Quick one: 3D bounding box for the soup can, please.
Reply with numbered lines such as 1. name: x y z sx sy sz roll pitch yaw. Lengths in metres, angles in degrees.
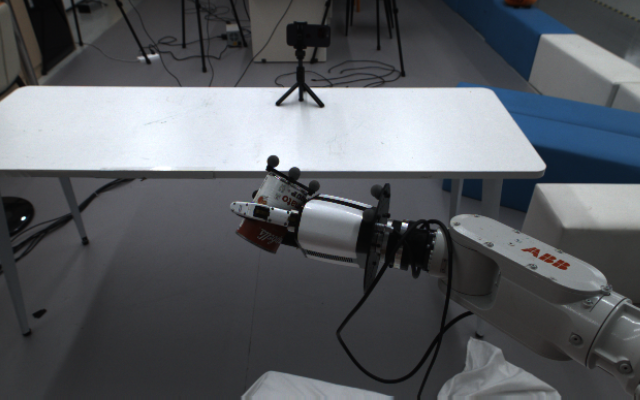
1. soup can: -0.070 0.019 0.708 0.067 0.101 0.067 29 -3 2
